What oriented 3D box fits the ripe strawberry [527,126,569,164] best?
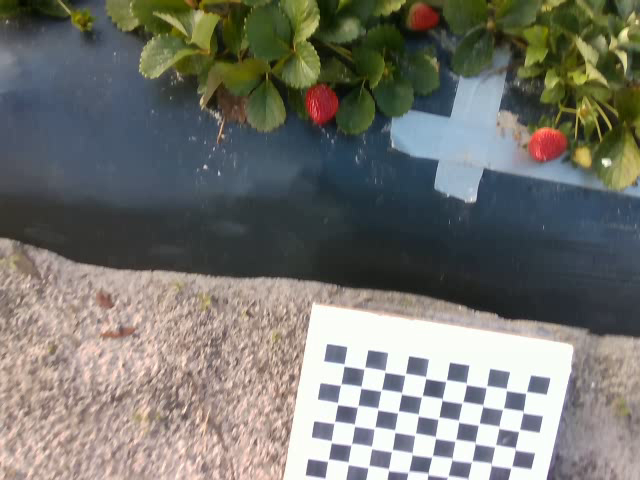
[{"bbox_3d":[0.117,-0.047,0.384,0.023,0.026,0.020,21,-33,18],"label":"ripe strawberry"}]

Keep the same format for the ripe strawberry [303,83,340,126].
[{"bbox_3d":[0.000,-0.065,0.369,0.018,0.022,0.020,3,-21,13],"label":"ripe strawberry"}]
